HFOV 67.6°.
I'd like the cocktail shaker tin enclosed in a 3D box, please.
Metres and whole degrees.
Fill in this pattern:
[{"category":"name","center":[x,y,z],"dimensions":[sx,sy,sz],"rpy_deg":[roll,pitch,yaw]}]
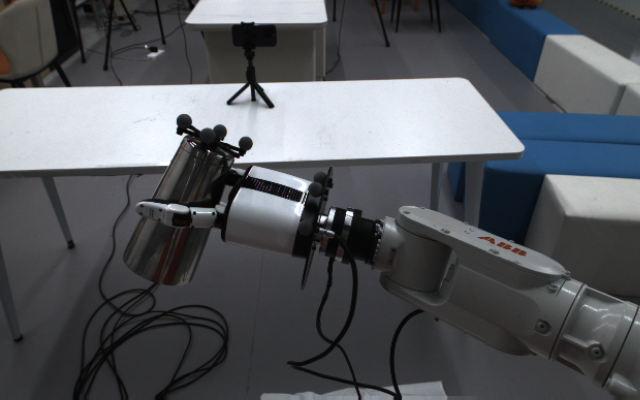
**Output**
[{"category":"cocktail shaker tin","center":[-0.168,0.008,0.602],"dimensions":[0.093,0.170,0.093],"rpy_deg":[24,12,-6]}]
